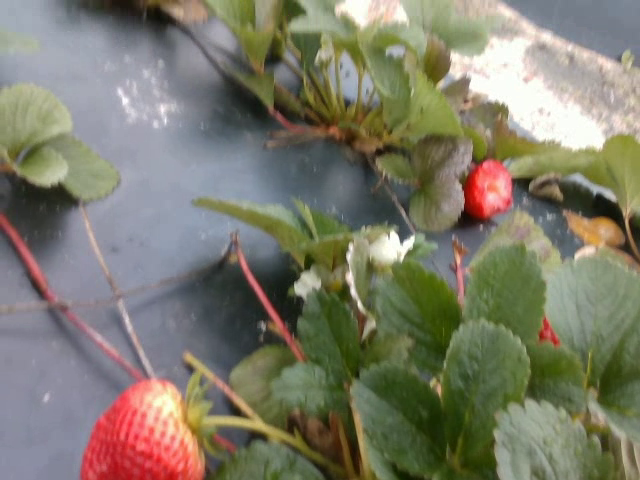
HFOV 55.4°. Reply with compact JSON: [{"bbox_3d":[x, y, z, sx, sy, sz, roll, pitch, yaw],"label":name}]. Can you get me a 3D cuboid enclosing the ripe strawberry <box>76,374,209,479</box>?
[{"bbox_3d":[-0.085,0.090,0.280,0.064,0.062,0.050,-36,-14,-9],"label":"ripe strawberry"}]
